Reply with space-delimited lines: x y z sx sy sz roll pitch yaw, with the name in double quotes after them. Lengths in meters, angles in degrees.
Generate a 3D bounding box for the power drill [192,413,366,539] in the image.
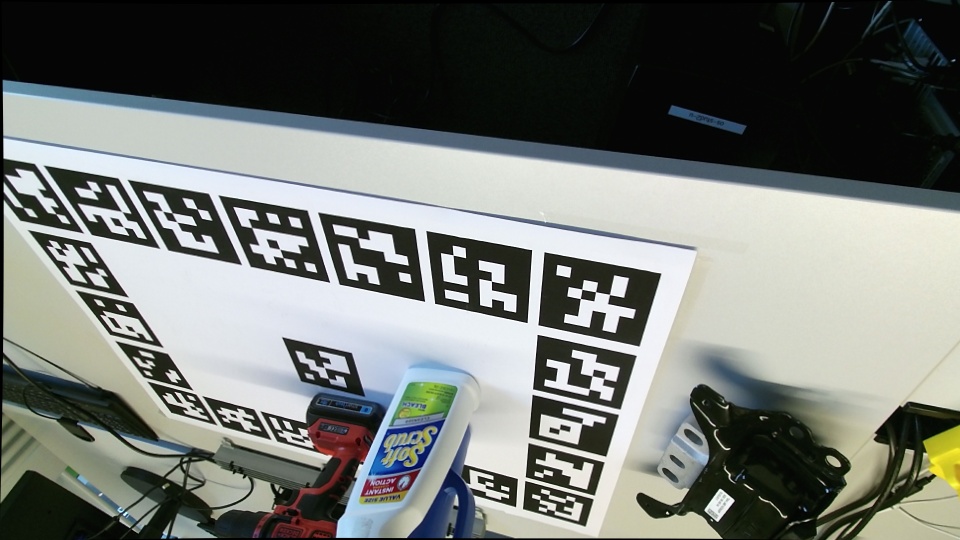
-0.253 0.282 0.708 0.185 0.186 0.057 9 129 21 "power drill"

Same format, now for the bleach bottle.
-0.090 0.239 0.568 0.103 0.250 0.068 3 130 17 "bleach bottle"

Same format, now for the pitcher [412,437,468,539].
-0.094 0.301 0.652 0.189 0.242 0.133 -13 122 29 "pitcher"
